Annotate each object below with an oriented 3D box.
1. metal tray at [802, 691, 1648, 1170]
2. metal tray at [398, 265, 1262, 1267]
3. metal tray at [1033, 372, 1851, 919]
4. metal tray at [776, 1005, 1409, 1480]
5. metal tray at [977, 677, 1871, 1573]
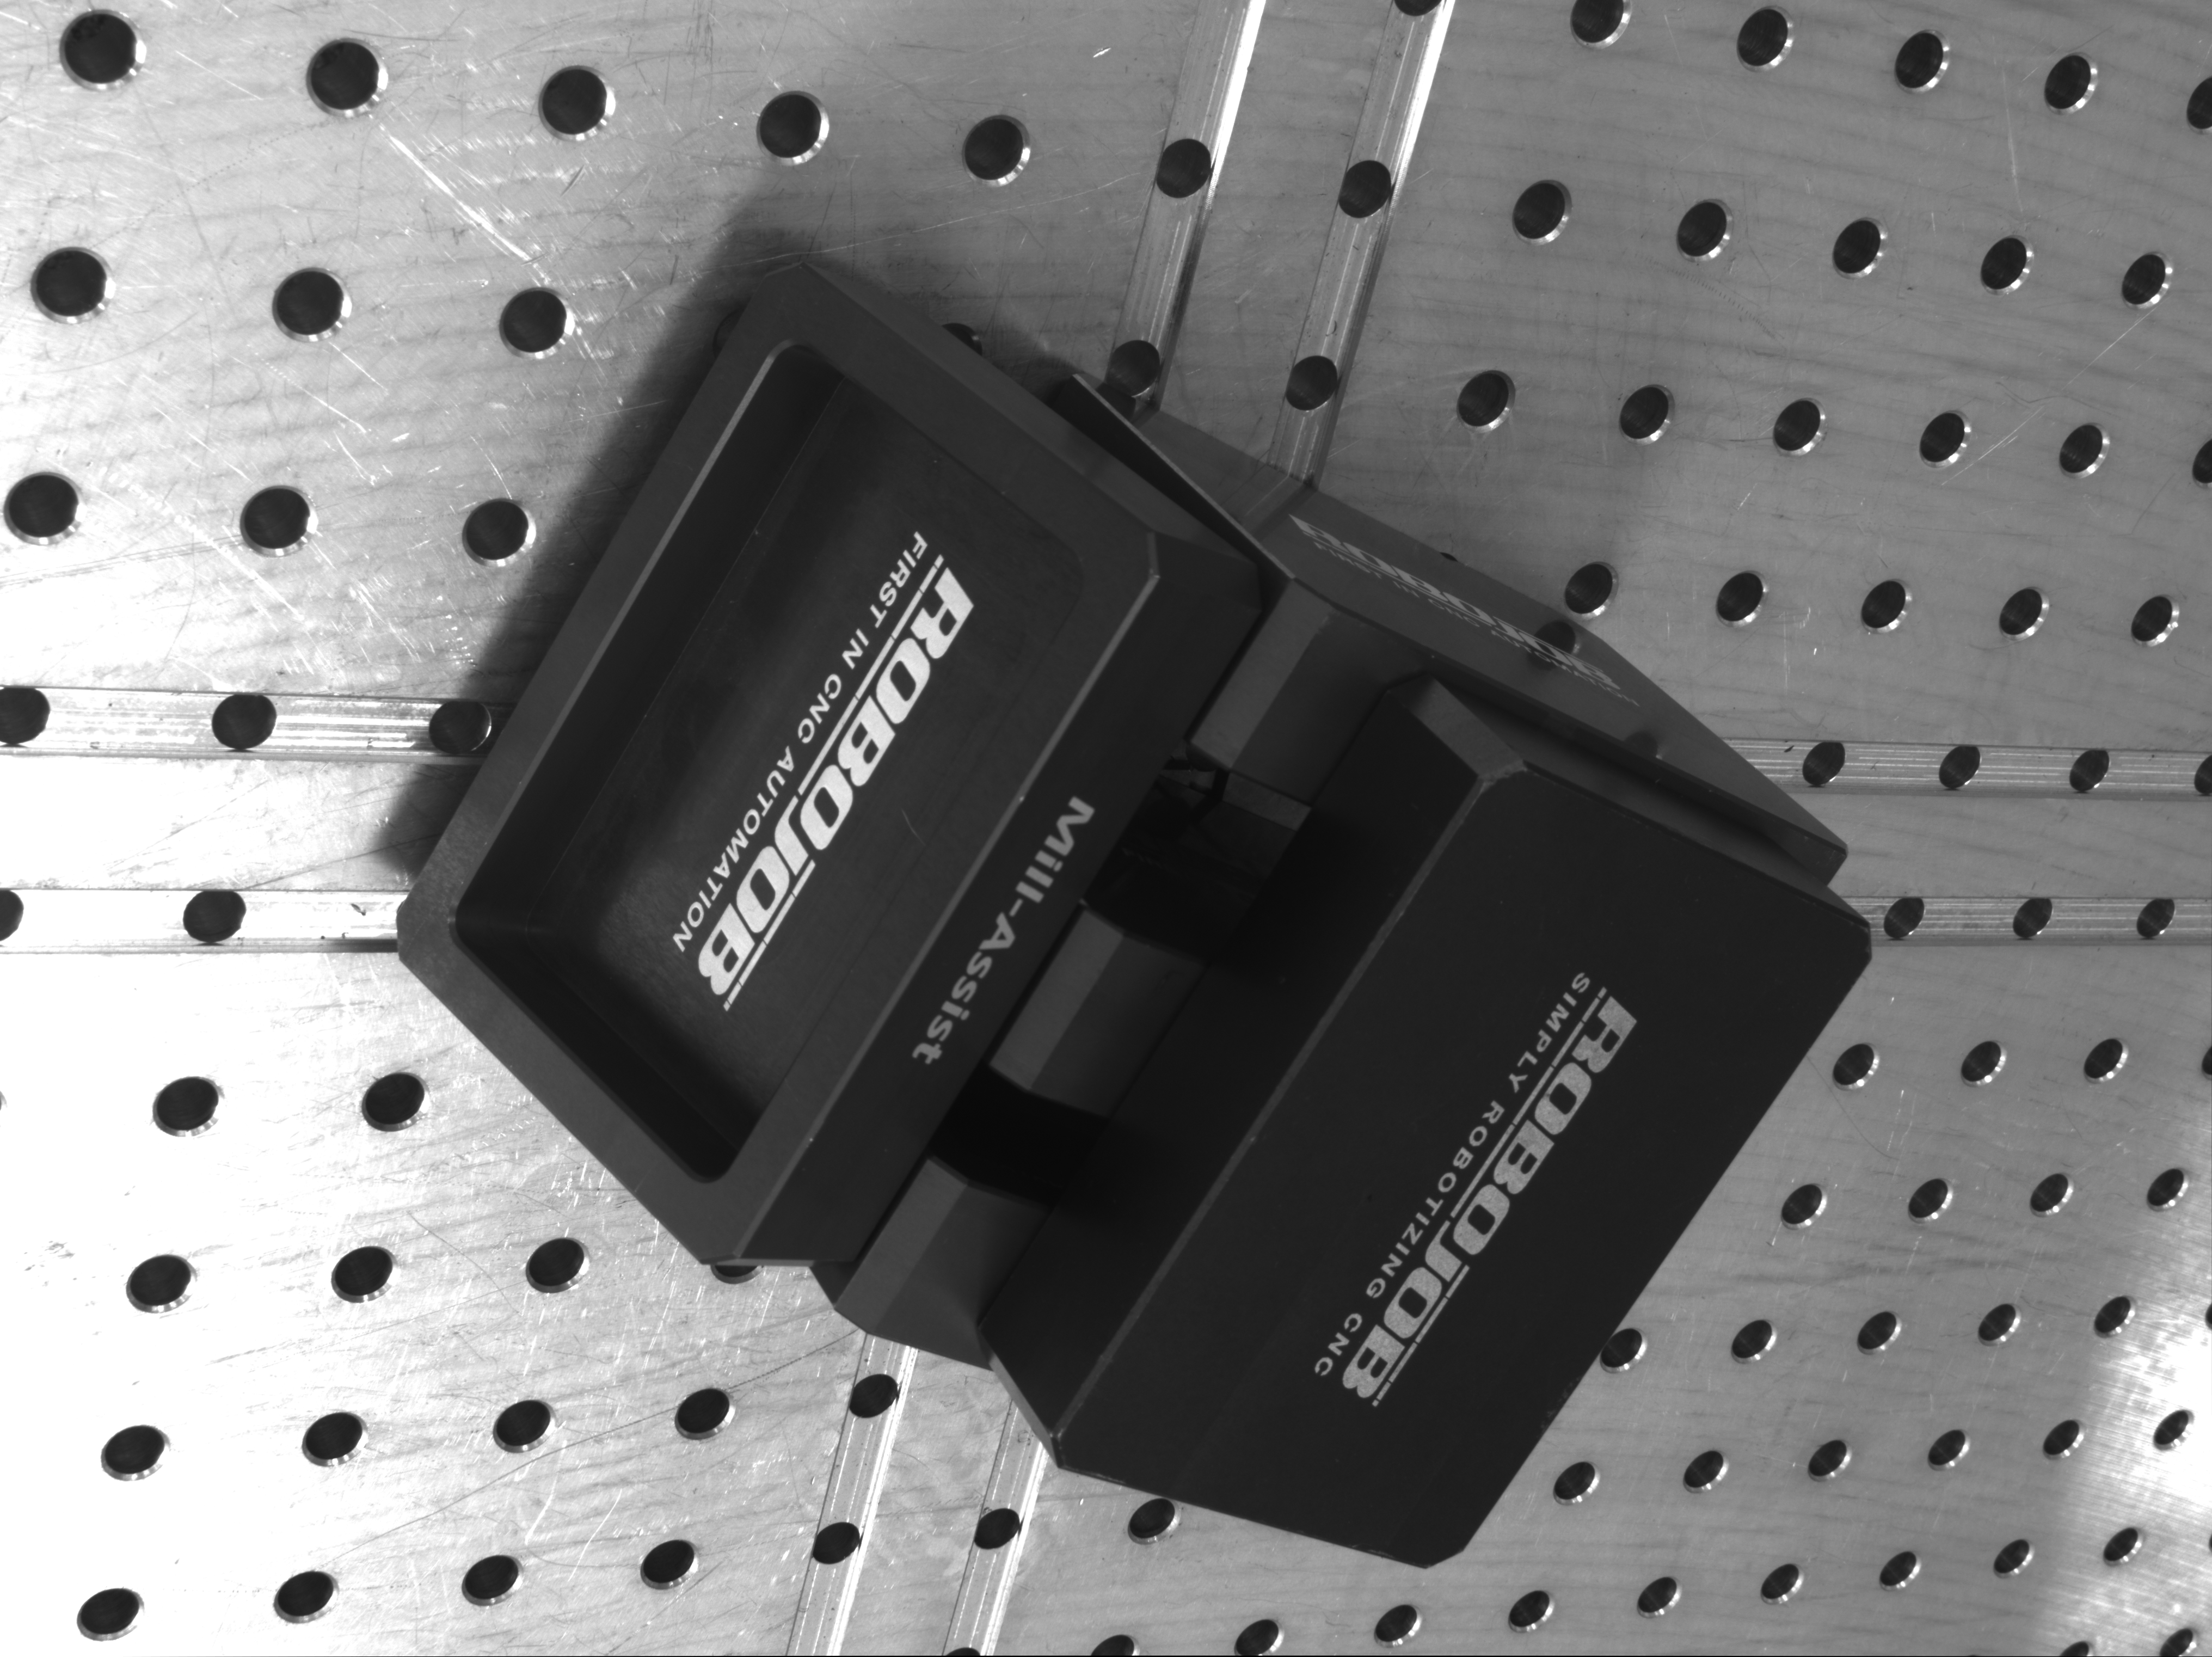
[{"bbox_3d":[0.022,0.026,0.625,0.130,0.090,0.030,21,106,-37],"label":"metal tray"},{"bbox_3d":[-0.045,-0.009,0.566,0.030,0.090,0.130,12,114,-57],"label":"metal tray"},{"bbox_3d":[0.053,-0.023,0.612,0.130,0.090,0.030,23,106,-36],"label":"metal tray"},{"bbox_3d":[-0.003,0.064,0.636,0.130,0.090,0.030,23,106,-36],"label":"metal tray"},{"bbox_3d":[0.050,0.050,0.578,0.090,0.030,0.130,23,106,-36],"label":"metal tray"}]
